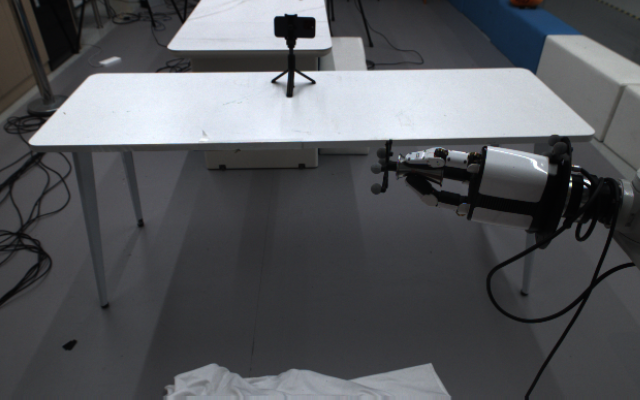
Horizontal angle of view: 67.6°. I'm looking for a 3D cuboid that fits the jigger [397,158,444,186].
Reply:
[{"bbox_3d":[0.157,-0.052,0.724,0.071,0.043,0.043,8,35,14],"label":"jigger"}]
